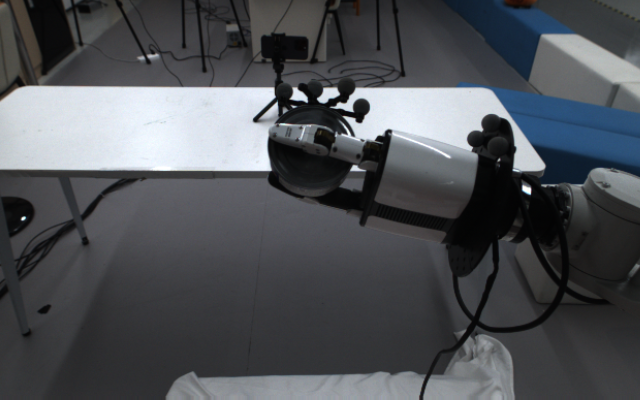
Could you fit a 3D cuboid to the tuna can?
[{"bbox_3d":[-0.007,-0.050,0.476,0.085,0.034,0.085,1,73,-3],"label":"tuna can"}]
